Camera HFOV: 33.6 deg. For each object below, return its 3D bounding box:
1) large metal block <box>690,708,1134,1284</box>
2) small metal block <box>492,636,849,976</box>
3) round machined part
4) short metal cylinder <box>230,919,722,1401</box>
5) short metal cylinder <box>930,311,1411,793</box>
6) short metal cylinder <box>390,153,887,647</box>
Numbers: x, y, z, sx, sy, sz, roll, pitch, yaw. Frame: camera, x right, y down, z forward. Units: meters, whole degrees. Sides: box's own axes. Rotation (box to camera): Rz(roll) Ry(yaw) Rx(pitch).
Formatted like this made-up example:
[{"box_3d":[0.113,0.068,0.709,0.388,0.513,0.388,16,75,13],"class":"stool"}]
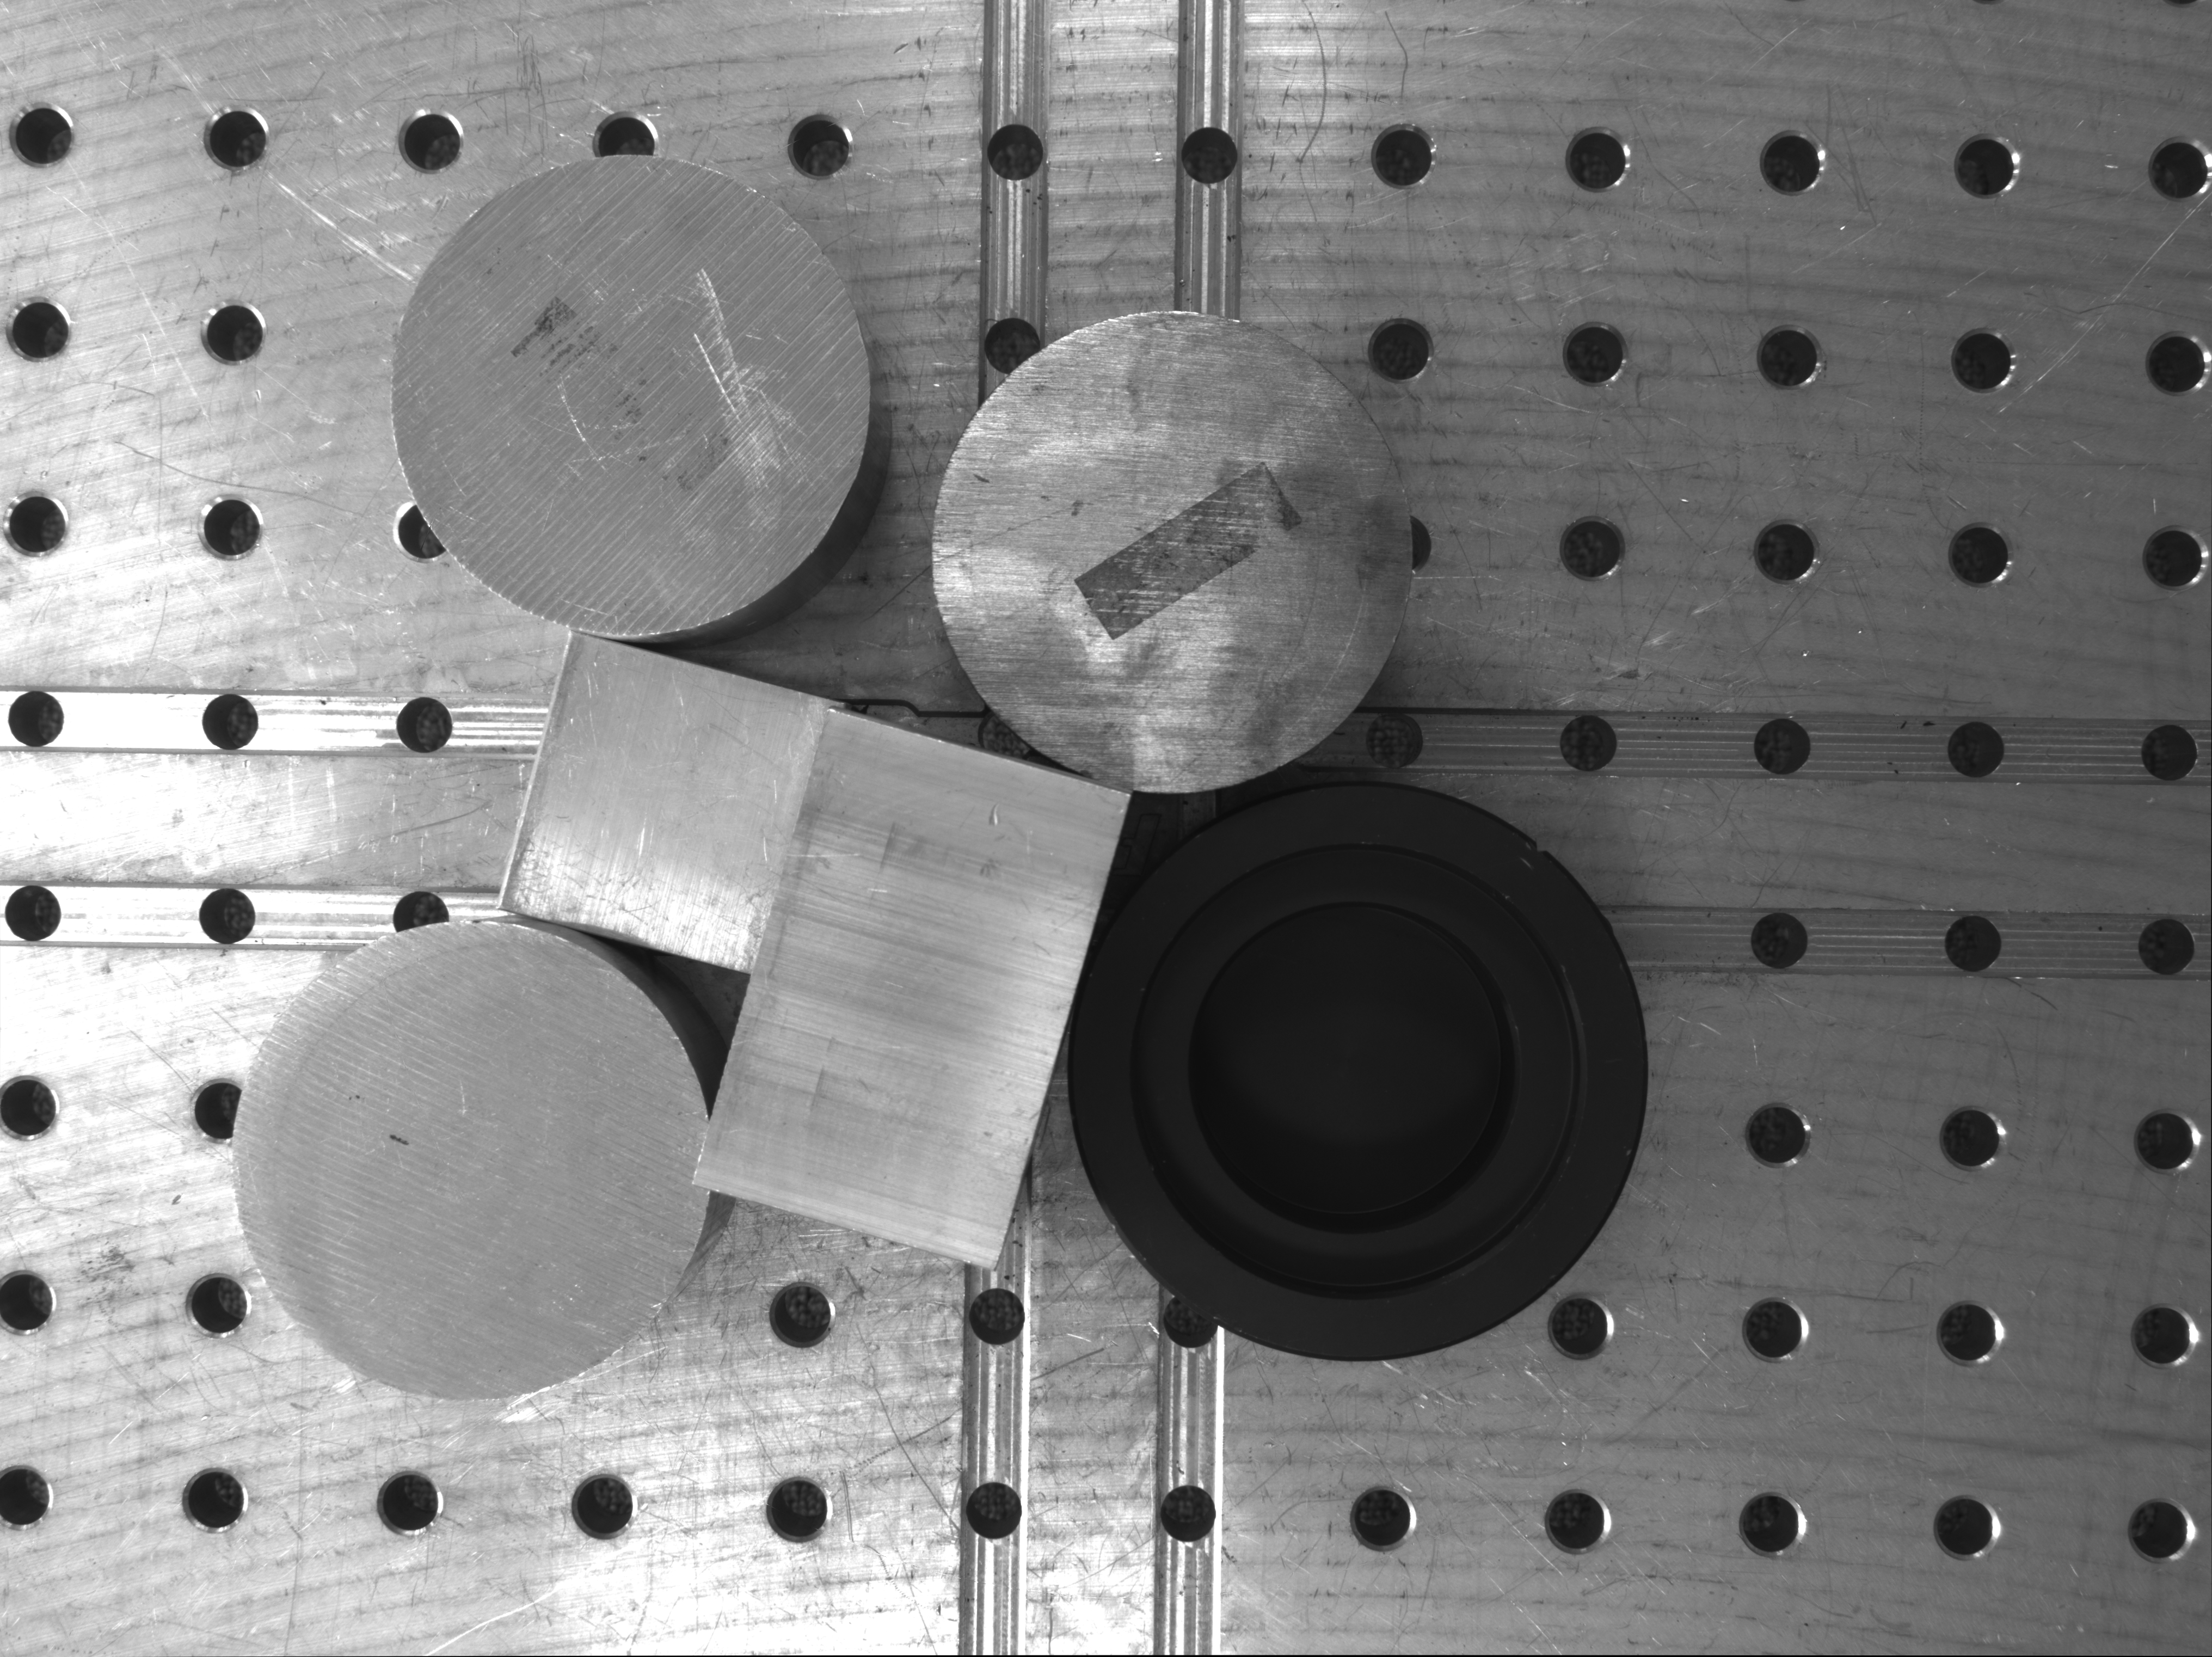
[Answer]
[{"box_3d":[-0.030,0.026,0.617,0.050,0.080,0.080,16,90,0],"class":"large metal block"},{"box_3d":[-0.076,-0.004,0.647,0.050,0.025,0.050,15,90,0],"class":"small metal block"},{"box_3d":[0.042,0.041,0.639,0.098,0.042,0.098,0,90,0],"class":"round machined part"},{"box_3d":[-0.105,0.055,0.634,0.080,0.050,0.080,0,90,0],"class":"short metal cylinder"},{"box_3d":[0.011,-0.046,0.635,0.080,0.050,0.080,0,90,0],"class":"short metal cylinder"},{"box_3d":[-0.079,-0.072,0.635,0.080,0.050,0.080,0,90,0],"class":"short metal cylinder"}]
